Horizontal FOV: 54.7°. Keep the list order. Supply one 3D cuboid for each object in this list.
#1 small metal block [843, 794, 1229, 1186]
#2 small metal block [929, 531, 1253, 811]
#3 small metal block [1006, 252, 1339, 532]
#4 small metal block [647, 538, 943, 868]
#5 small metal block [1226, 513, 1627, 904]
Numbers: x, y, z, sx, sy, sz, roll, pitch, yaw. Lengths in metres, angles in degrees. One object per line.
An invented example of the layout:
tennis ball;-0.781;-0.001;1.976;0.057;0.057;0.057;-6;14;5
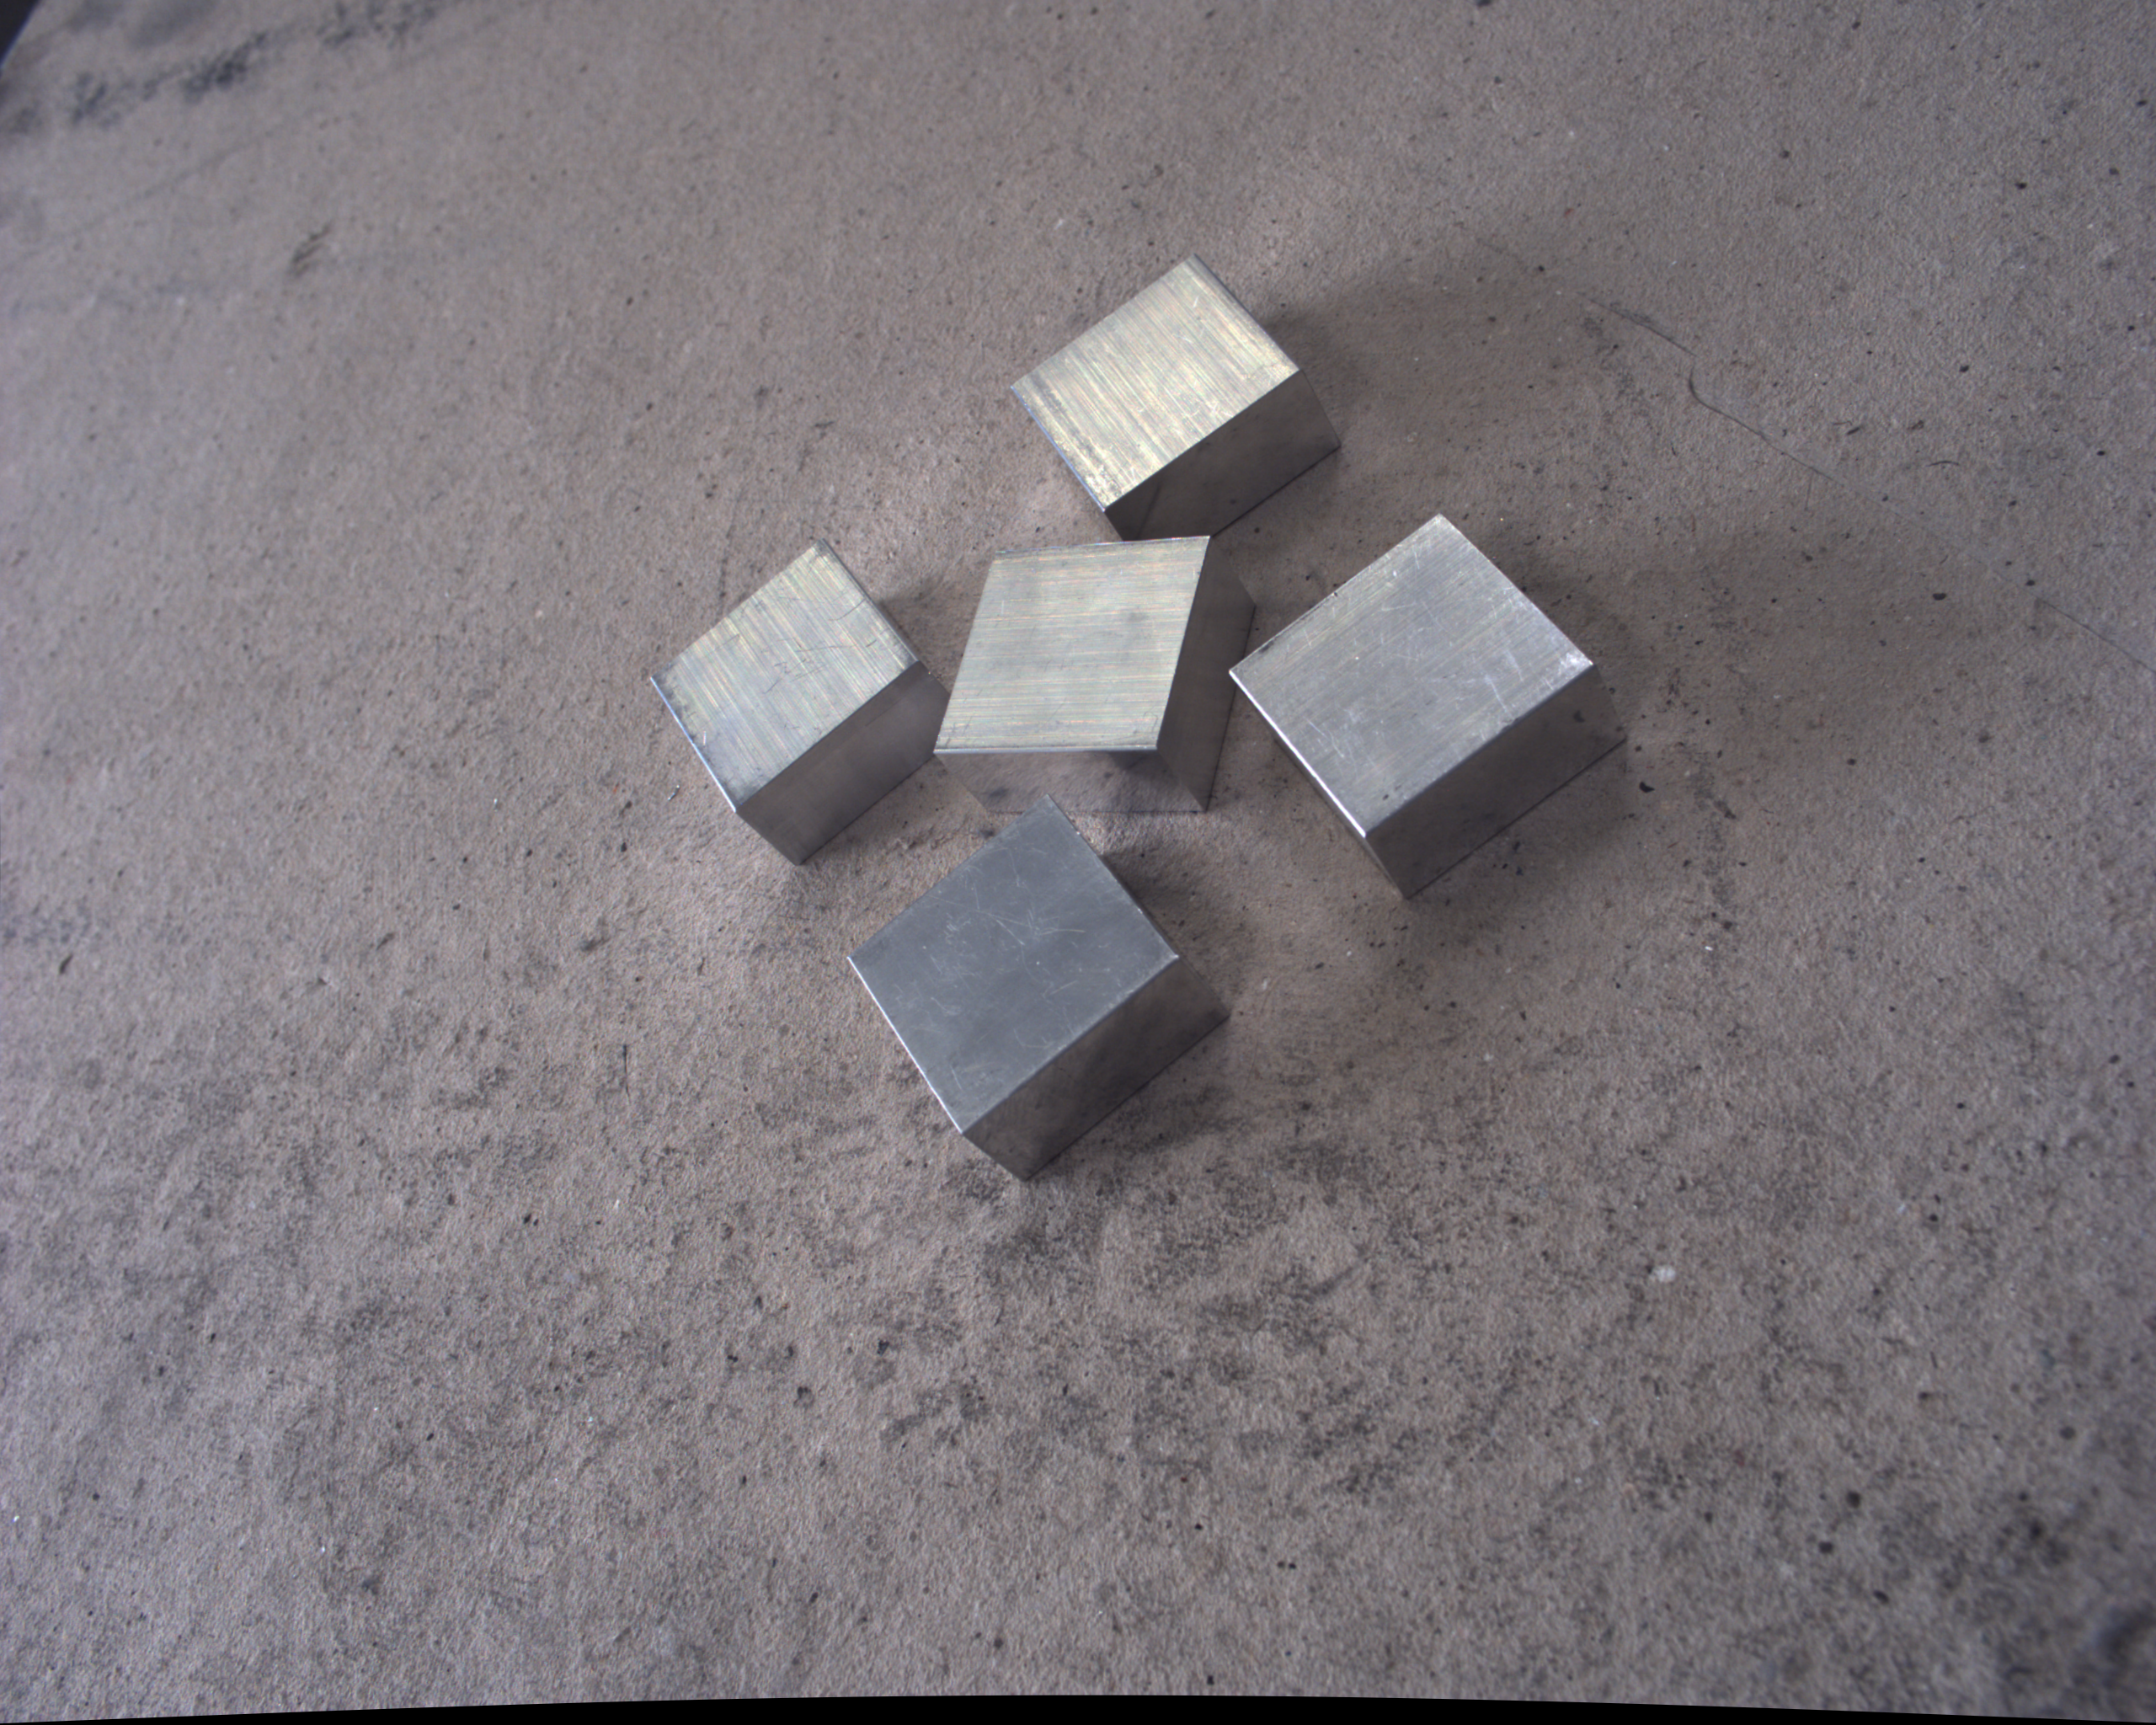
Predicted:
small metal block;-0.009;0.024;0.395;0.050;0.025;0.050;-39;51;1
small metal block;0.003;-0.038;0.427;0.050;0.025;0.050;0;62;29
small metal block;0.020;-0.098;0.454;0.050;0.025;0.050;-35;51;4
small metal block;-0.059;-0.036;0.459;0.050;0.025;0.050;-39;51;0
small metal block;0.065;-0.029;0.390;0.050;0.025;0.050;-37;51;3
